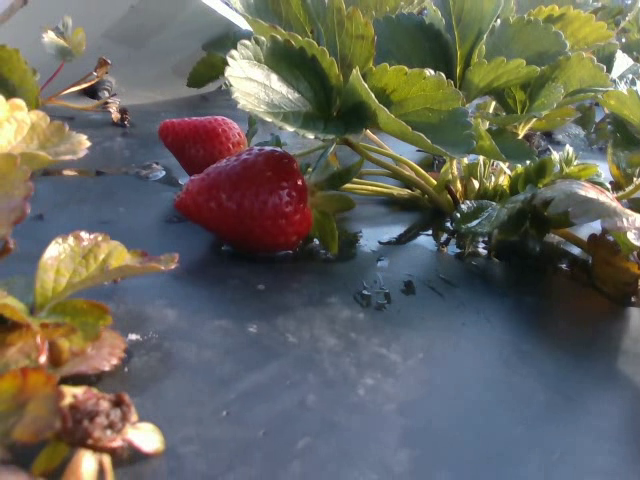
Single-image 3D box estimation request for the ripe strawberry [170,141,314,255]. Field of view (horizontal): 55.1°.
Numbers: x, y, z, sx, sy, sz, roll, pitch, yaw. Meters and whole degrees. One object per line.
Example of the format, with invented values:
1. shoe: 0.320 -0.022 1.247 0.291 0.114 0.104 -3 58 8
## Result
1. ripe strawberry: -0.035 -0.019 0.253 0.065 0.050 0.049 -17 -15 -28
